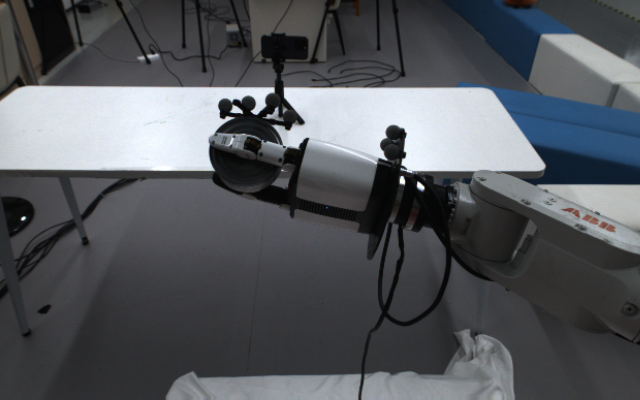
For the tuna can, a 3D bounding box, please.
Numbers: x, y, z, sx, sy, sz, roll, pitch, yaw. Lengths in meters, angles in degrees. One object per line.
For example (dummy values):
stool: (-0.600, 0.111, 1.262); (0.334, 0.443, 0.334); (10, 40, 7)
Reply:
tuna can: (-0.085, -0.054, 0.574); (0.085, 0.034, 0.085); (1, 73, -3)
